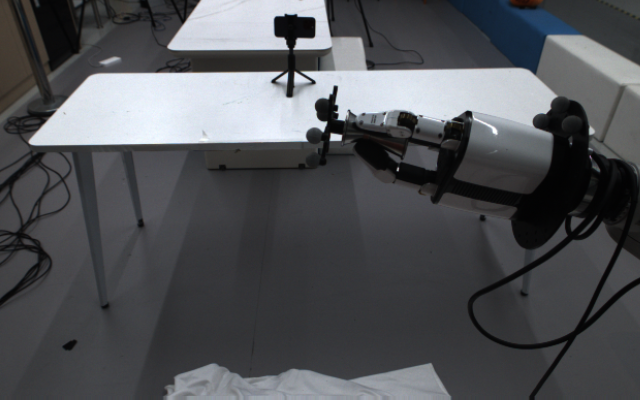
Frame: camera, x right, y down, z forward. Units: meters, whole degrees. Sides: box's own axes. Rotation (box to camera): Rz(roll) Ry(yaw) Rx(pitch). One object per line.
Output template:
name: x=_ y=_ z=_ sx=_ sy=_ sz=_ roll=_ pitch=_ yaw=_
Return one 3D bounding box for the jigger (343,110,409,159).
jigger: x=0.067 y=-0.075 z=0.521 sx=0.071 sy=0.043 sz=0.043 roll=11 pitch=35 yaw=3
